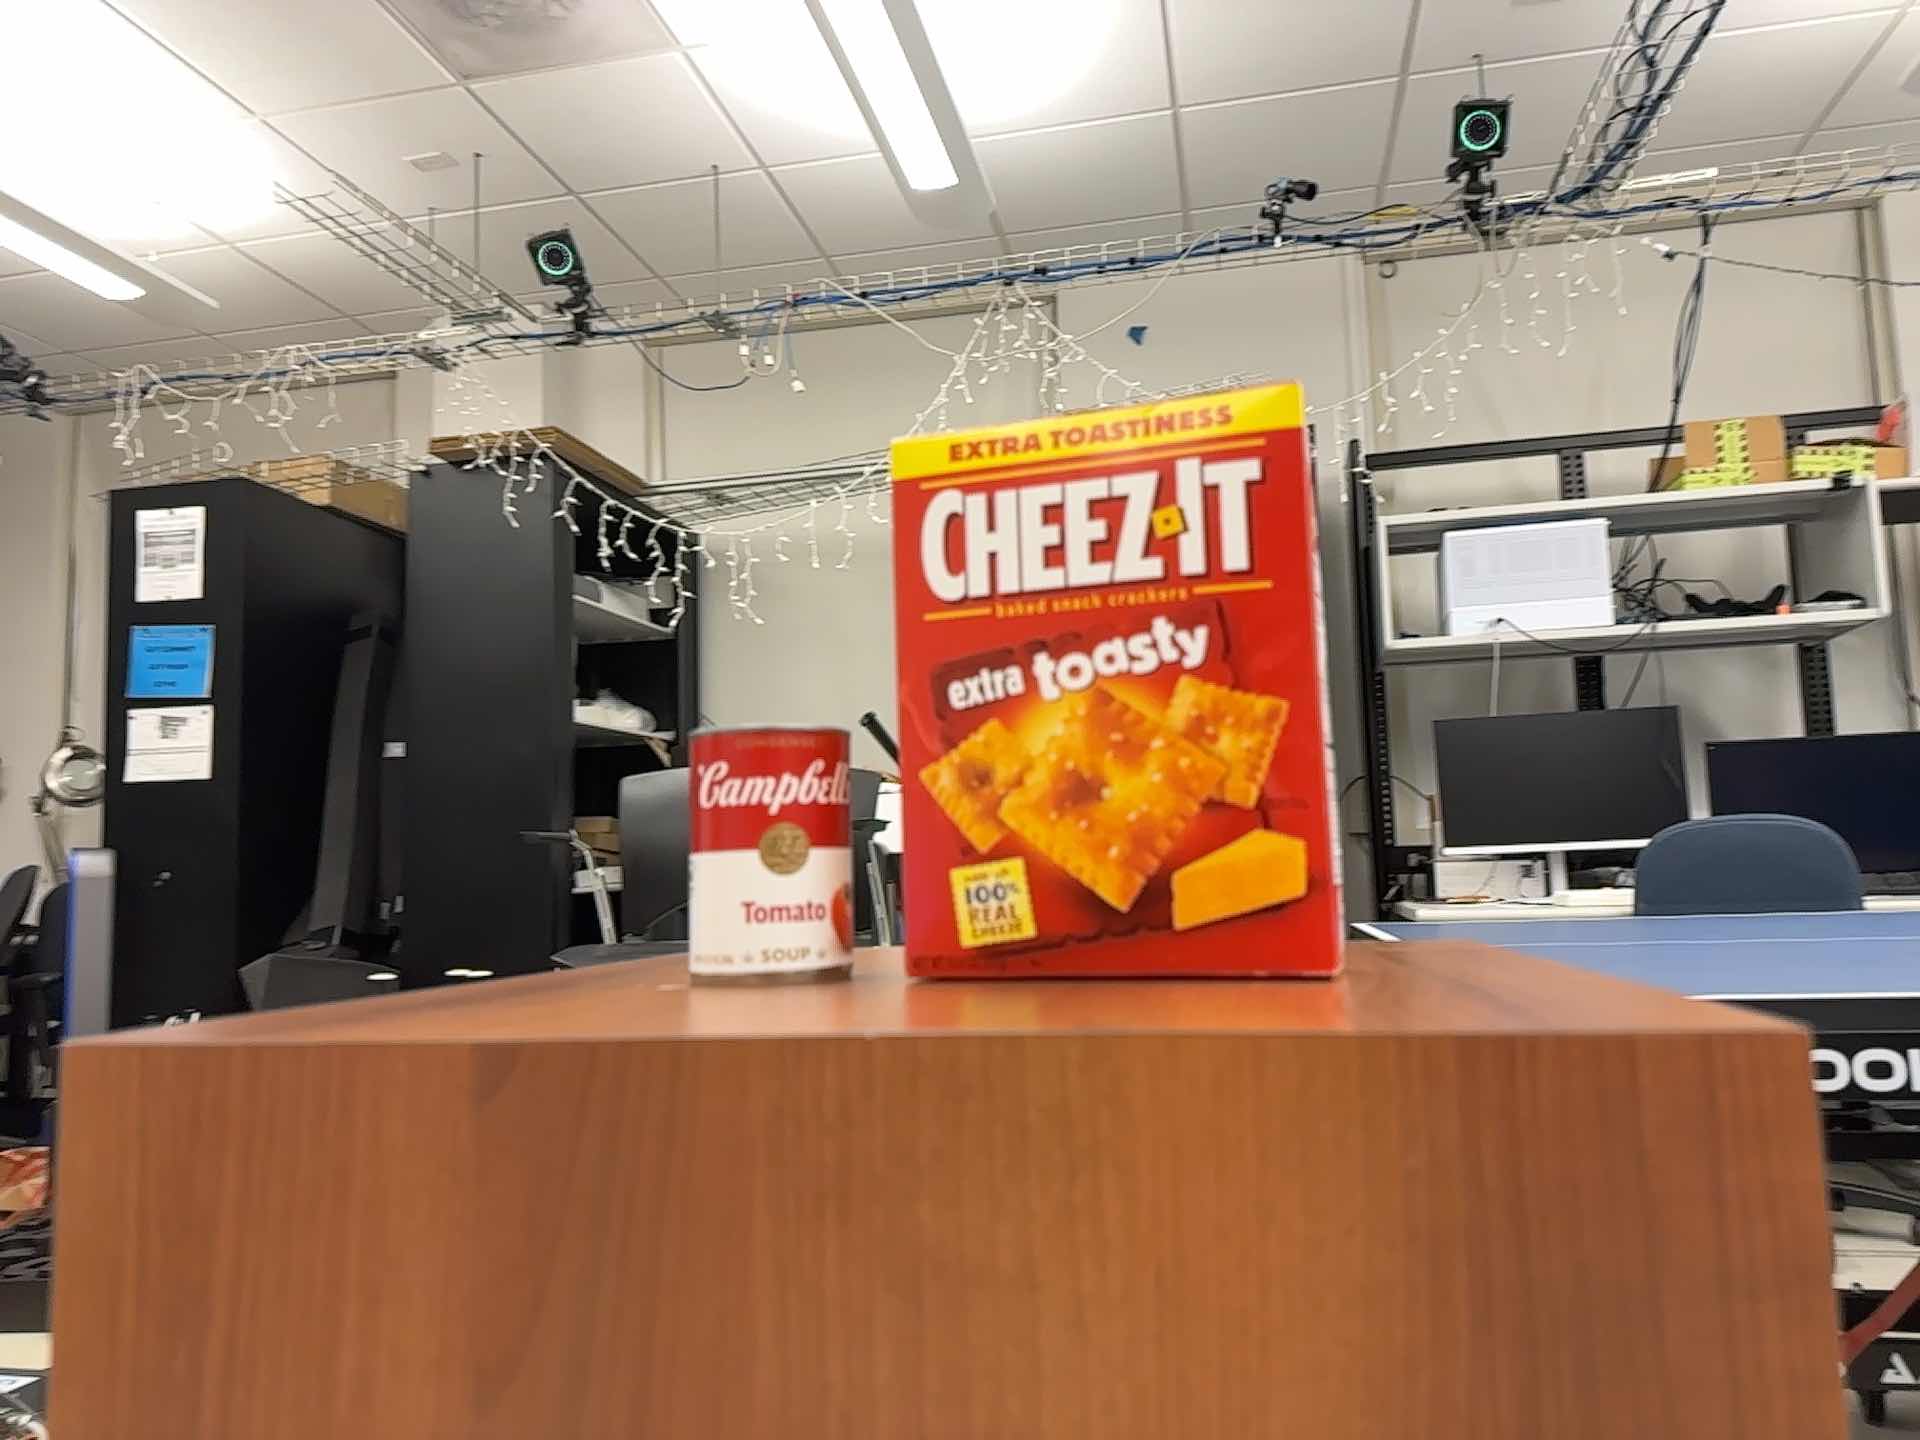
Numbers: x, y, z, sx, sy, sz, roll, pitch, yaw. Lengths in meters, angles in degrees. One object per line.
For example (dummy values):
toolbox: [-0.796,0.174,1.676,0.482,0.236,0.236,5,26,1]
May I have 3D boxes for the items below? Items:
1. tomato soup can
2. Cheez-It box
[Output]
tomato soup can: [-0.079,0.056,0.547,0.067,0.102,0.067,-1,-9,0]
Cheez-It box: [0.061,-0.010,0.528,0.159,0.214,0.062,-4,-8,15]
